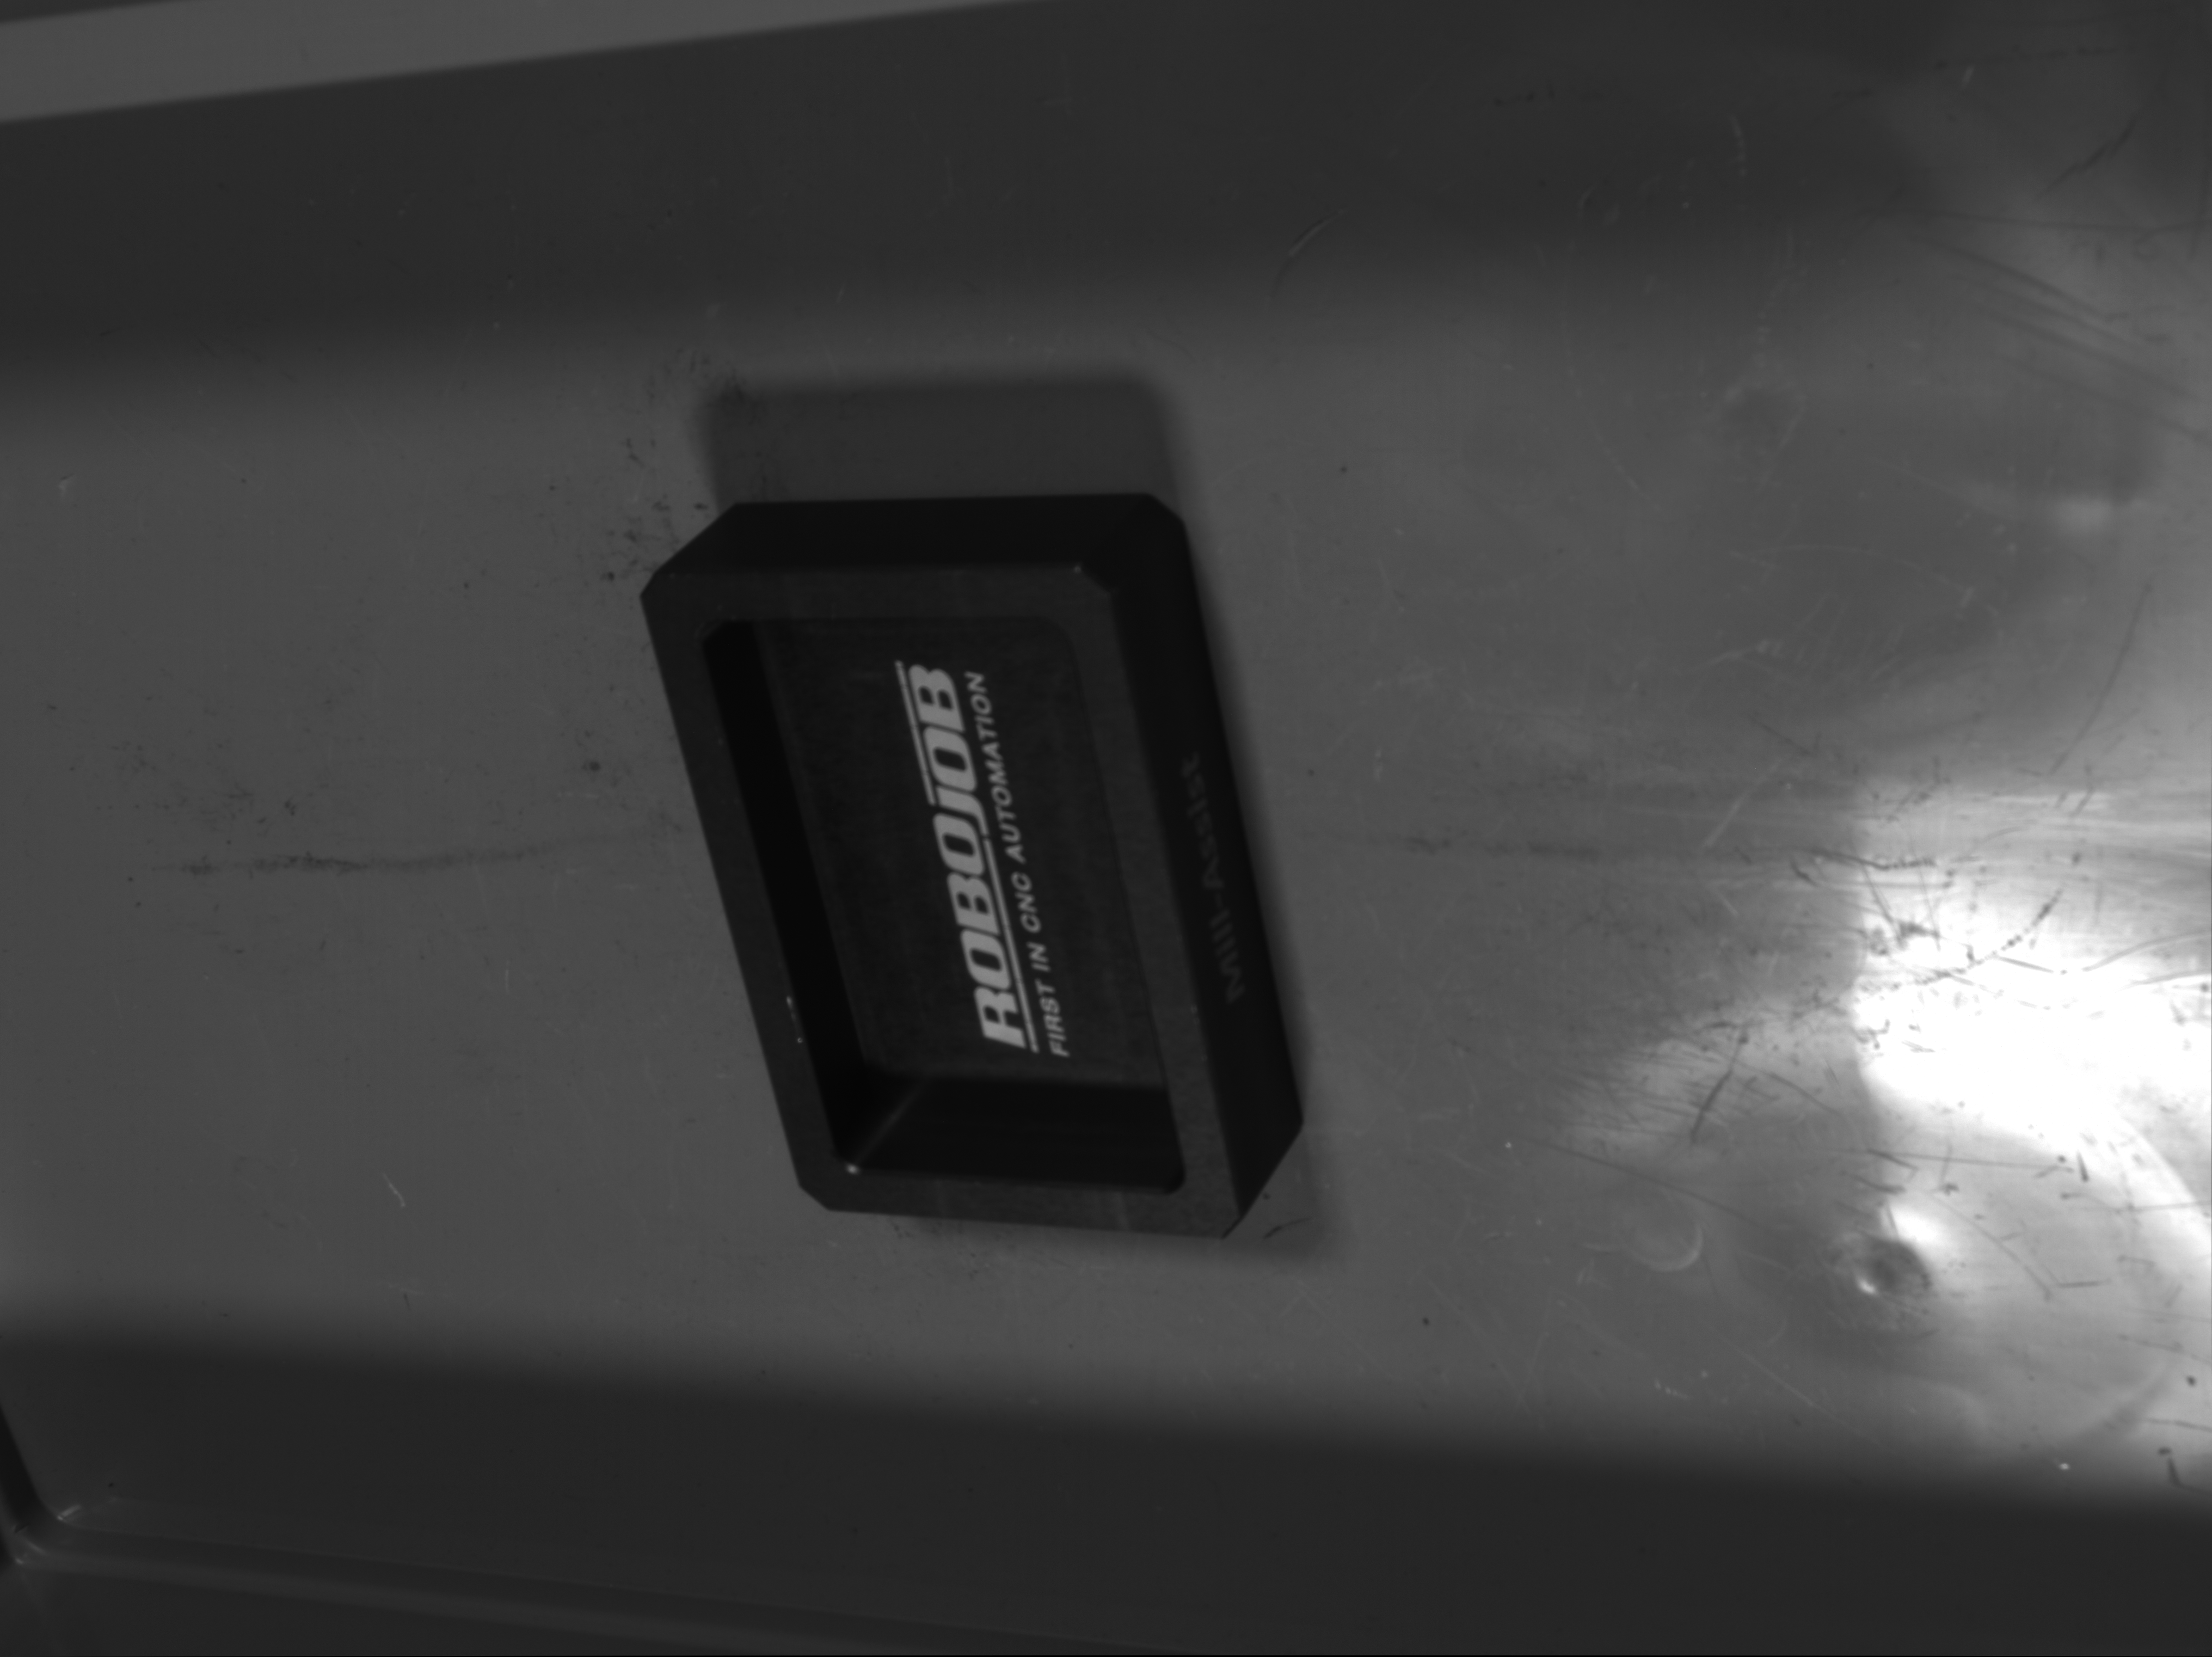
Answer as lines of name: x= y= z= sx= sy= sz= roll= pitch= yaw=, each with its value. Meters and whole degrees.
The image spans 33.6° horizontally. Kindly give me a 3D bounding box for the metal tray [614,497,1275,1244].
metal tray: x=-0.027 y=0.008 z=0.643 sx=0.090 sy=0.030 sz=0.130 roll=1 pitch=119 yaw=25
